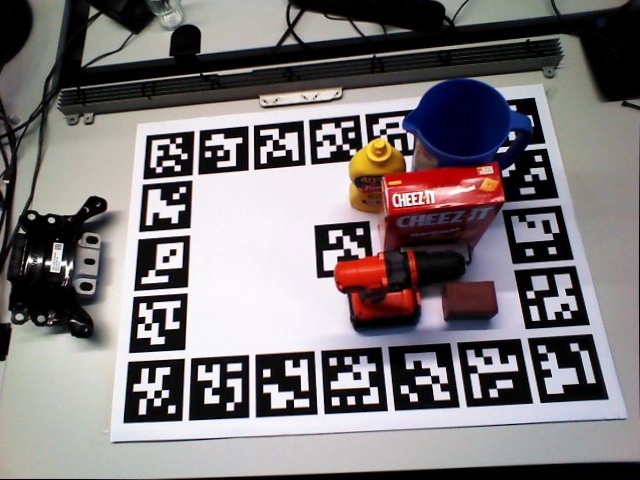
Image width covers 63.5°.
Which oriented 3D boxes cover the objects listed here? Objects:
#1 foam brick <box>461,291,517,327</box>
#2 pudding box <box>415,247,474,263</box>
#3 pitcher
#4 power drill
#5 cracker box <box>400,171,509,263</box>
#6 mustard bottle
[{"bbox_3d":[0.271,0.112,0.837,0.078,0.051,0.052,-2,72,6],"label":"foam brick"},{"bbox_3d":[0.208,0.044,0.833,0.114,0.090,0.038,-4,68,8],"label":"pudding box"},{"bbox_3d":[0.251,-0.121,0.824,0.189,0.243,0.132,2,70,9],"label":"pitcher"},{"bbox_3d":[0.141,0.082,0.754,0.185,0.187,0.057,-5,66,4],"label":"power drill"},{"bbox_3d":[0.208,-0.020,0.799,0.165,0.214,0.071,-6,68,7],"label":"cracker box"},{"bbox_3d":[0.120,-0.108,0.847,0.096,0.192,0.058,9,72,10],"label":"mustard bottle"}]
